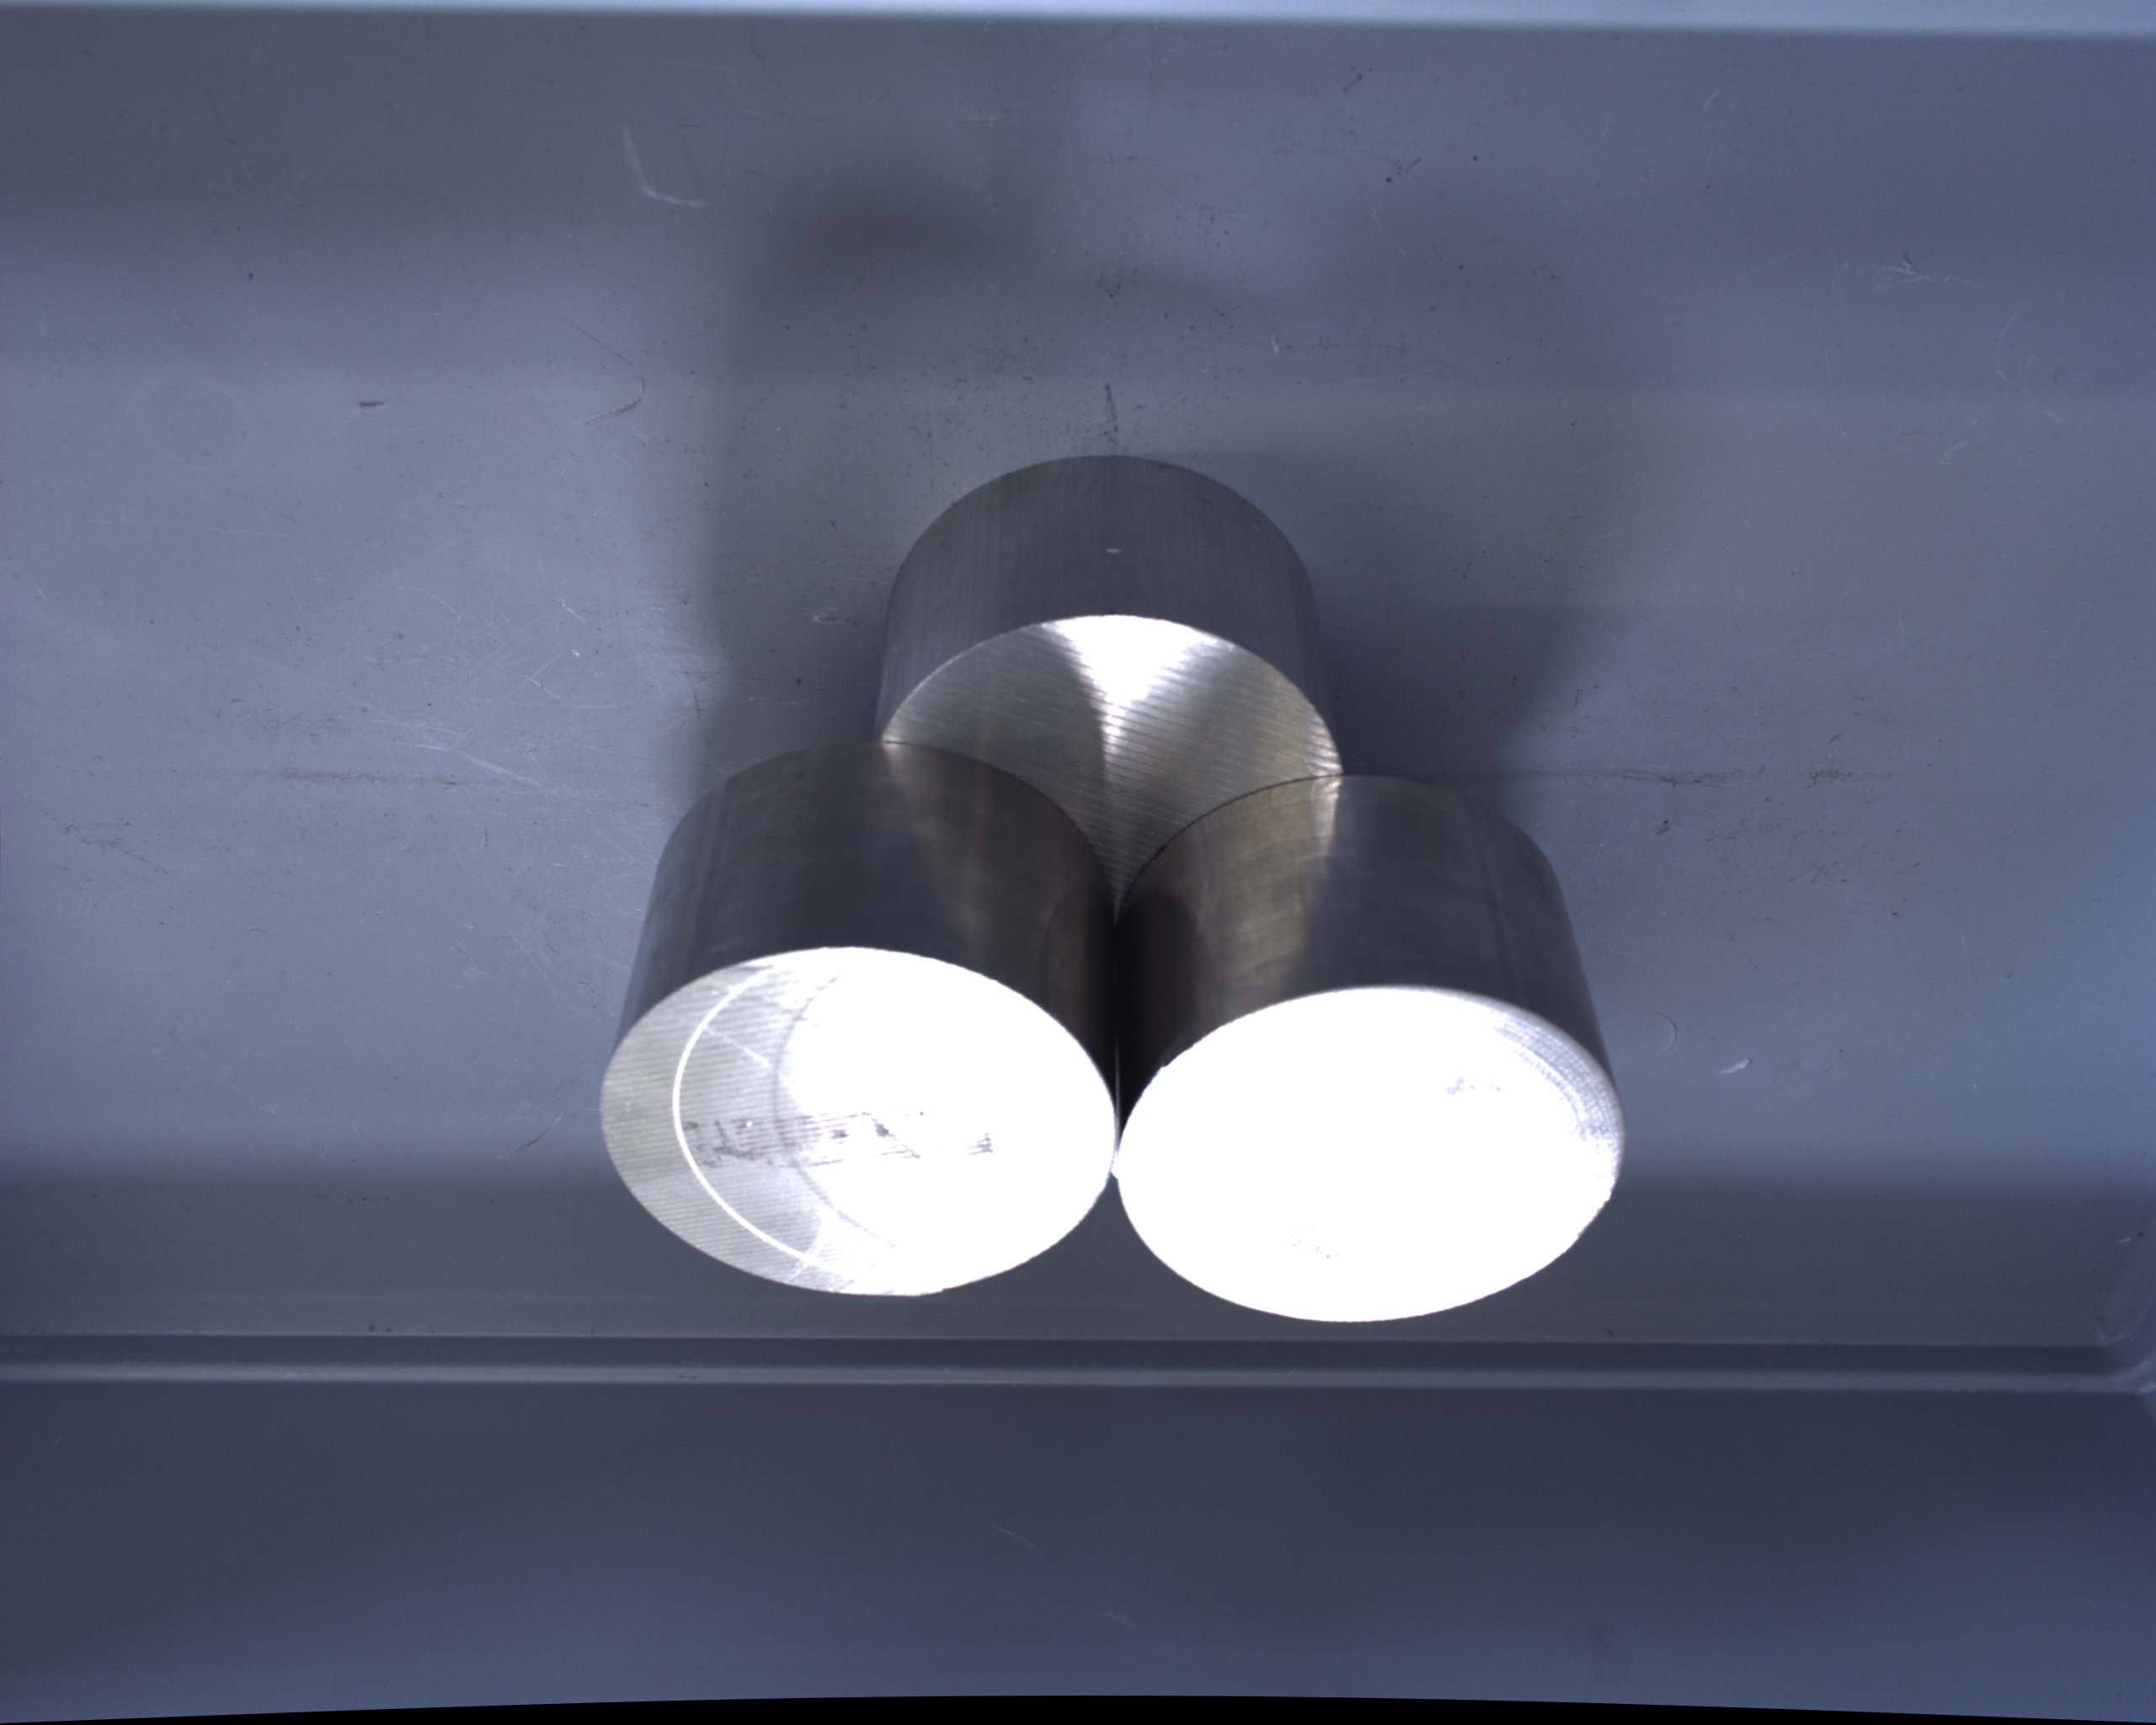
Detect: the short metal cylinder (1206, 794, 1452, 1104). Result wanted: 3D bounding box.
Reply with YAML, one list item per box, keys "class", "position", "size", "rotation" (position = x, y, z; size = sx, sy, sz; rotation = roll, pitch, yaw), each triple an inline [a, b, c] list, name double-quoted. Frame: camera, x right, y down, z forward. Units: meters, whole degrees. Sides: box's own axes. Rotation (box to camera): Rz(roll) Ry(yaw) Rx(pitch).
- class: "short metal cylinder"
  position: [0.042, 0.030, 0.416]
  size: [0.081, 0.050, 0.079]
  rotation: [0, 130, 0]

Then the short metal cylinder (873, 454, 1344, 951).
- class: "short metal cylinder"
  position: [0.005, -0.025, 0.370]
  size: [0.081, 0.050, 0.079]
  rotation: [0, 130, 0]

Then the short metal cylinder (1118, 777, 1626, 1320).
- class: "short metal cylinder"
  position: [0.047, 0.032, 0.351]
  size: [0.081, 0.050, 0.079]
  rotation: [0, 130, 0]

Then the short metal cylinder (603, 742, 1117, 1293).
- class: "short metal cylinder"
  position: [-0.034, 0.027, 0.347]
  size: [0.081, 0.050, 0.079]
  rotation: [0, 130, 0]

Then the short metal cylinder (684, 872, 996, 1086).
- class: "short metal cylinder"
  position: [-0.040, 0.026, 0.412]
  size: [0.081, 0.050, 0.079]
  rotation: [0, 130, 0]
